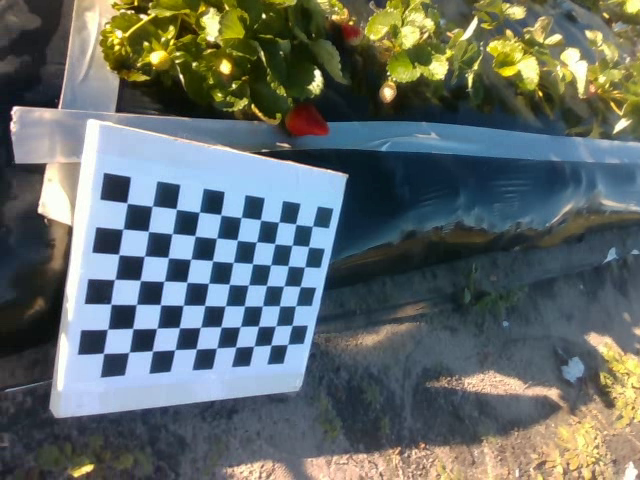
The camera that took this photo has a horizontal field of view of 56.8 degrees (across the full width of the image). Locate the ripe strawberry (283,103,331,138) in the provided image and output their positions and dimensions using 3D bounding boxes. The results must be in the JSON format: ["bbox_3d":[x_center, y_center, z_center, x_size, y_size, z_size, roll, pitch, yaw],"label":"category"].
[{"bbox_3d":[-0.014,-0.137,0.671,0.063,0.045,0.049,29,-7,23],"label":"ripe strawberry"}]
